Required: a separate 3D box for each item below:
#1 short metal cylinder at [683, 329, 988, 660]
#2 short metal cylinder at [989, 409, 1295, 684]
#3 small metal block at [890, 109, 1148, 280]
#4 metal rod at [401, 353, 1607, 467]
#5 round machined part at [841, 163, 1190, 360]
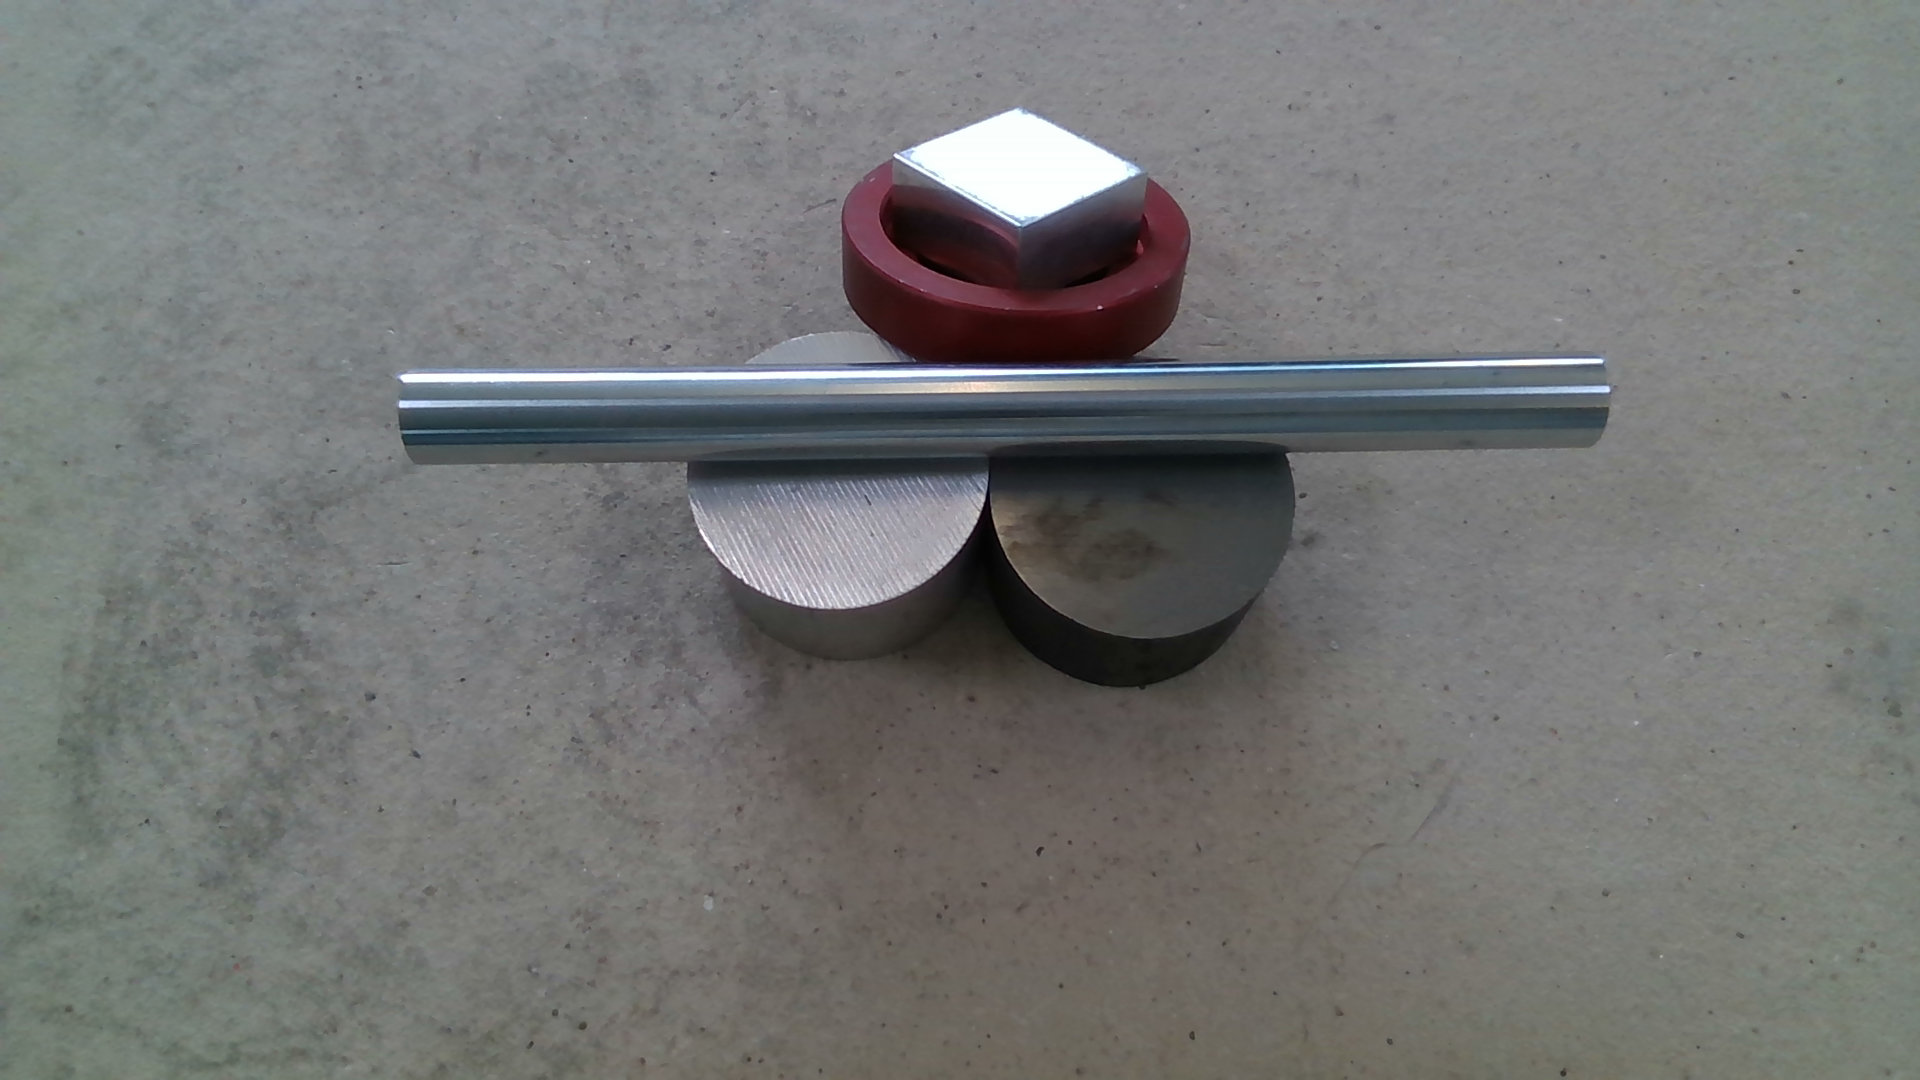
[{"bbox_3d":[-0.033,-0.011,0.386,0.080,0.050,0.080,0,70,-1],"label":"short metal cylinder"},{"bbox_3d":[0.048,-0.004,0.384,0.080,0.050,0.080,0,70,0],"label":"short metal cylinder"},{"bbox_3d":[0.016,-0.094,0.386,0.050,0.025,0.050,-30,52,-32],"label":"small metal block"},{"bbox_3d":[0.012,-0.034,0.355,0.300,0.025,0.025,-1,70,-1],"label":"metal rod"},{"bbox_3d":[0.015,-0.075,0.400,0.098,0.042,0.098,2,41,-2],"label":"round machined part"}]
